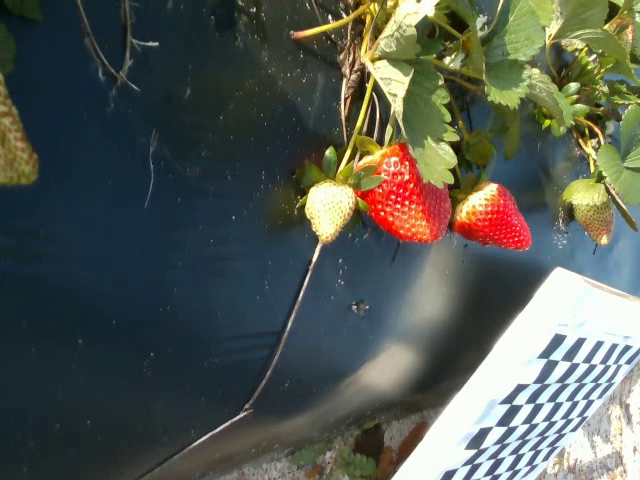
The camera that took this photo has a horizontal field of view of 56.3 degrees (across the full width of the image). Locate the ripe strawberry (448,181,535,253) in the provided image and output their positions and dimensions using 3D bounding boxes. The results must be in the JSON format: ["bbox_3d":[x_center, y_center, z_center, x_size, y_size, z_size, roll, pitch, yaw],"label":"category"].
[{"bbox_3d":[0.078,-0.008,0.253,0.037,0.039,0.033,-42,-18,13],"label":"ripe strawberry"}]

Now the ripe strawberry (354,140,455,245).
[{"bbox_3d":[0.032,-0.016,0.201,0.035,0.036,0.041,-1,-31,-36],"label":"ripe strawberry"}]
